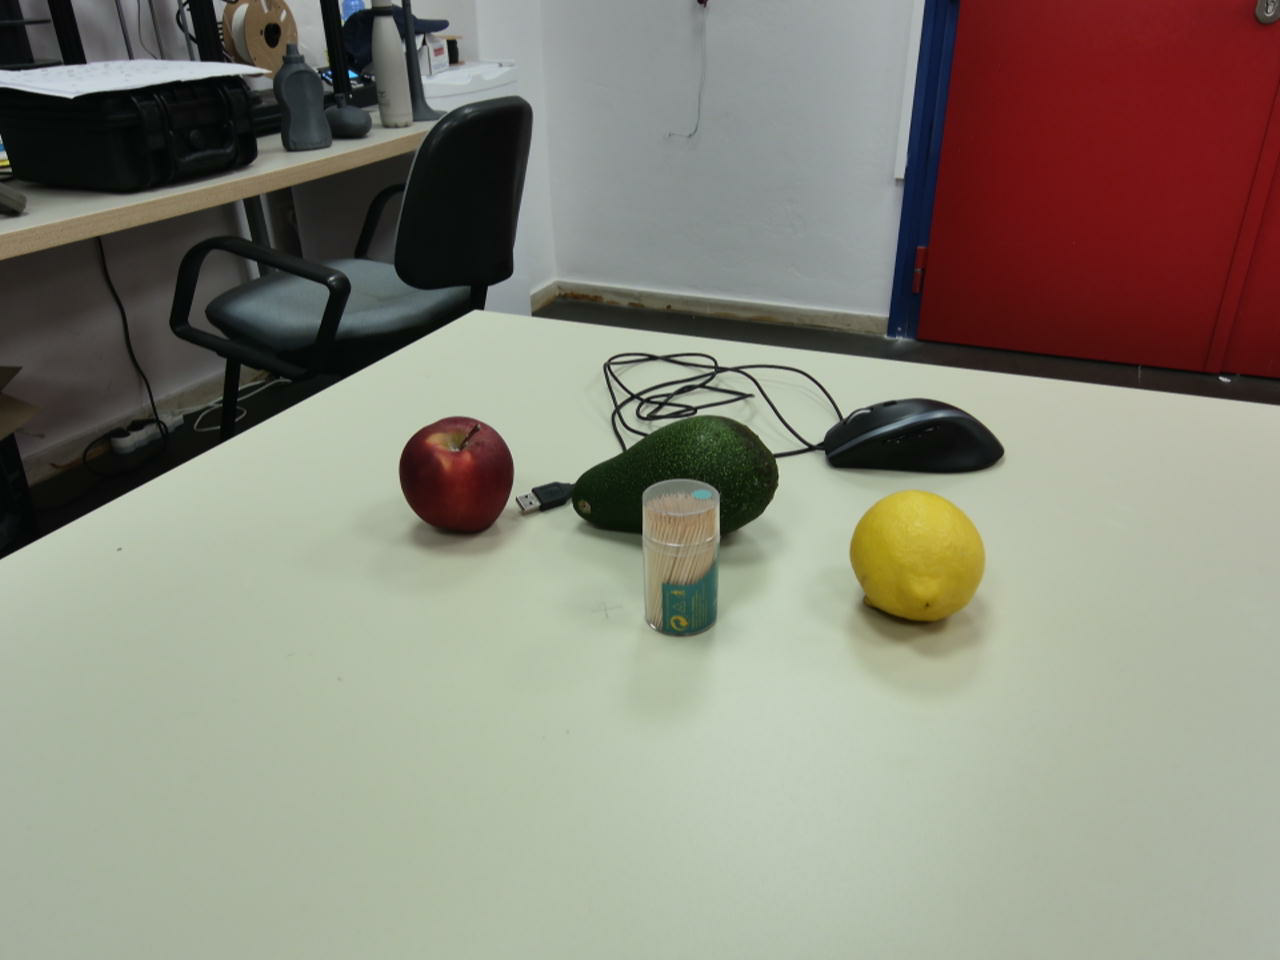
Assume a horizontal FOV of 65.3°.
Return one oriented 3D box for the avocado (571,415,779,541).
[{"bbox_3d":[0.024,-0.005,0.603,0.123,0.076,0.074,14,29,27],"label":"avocado"}]
